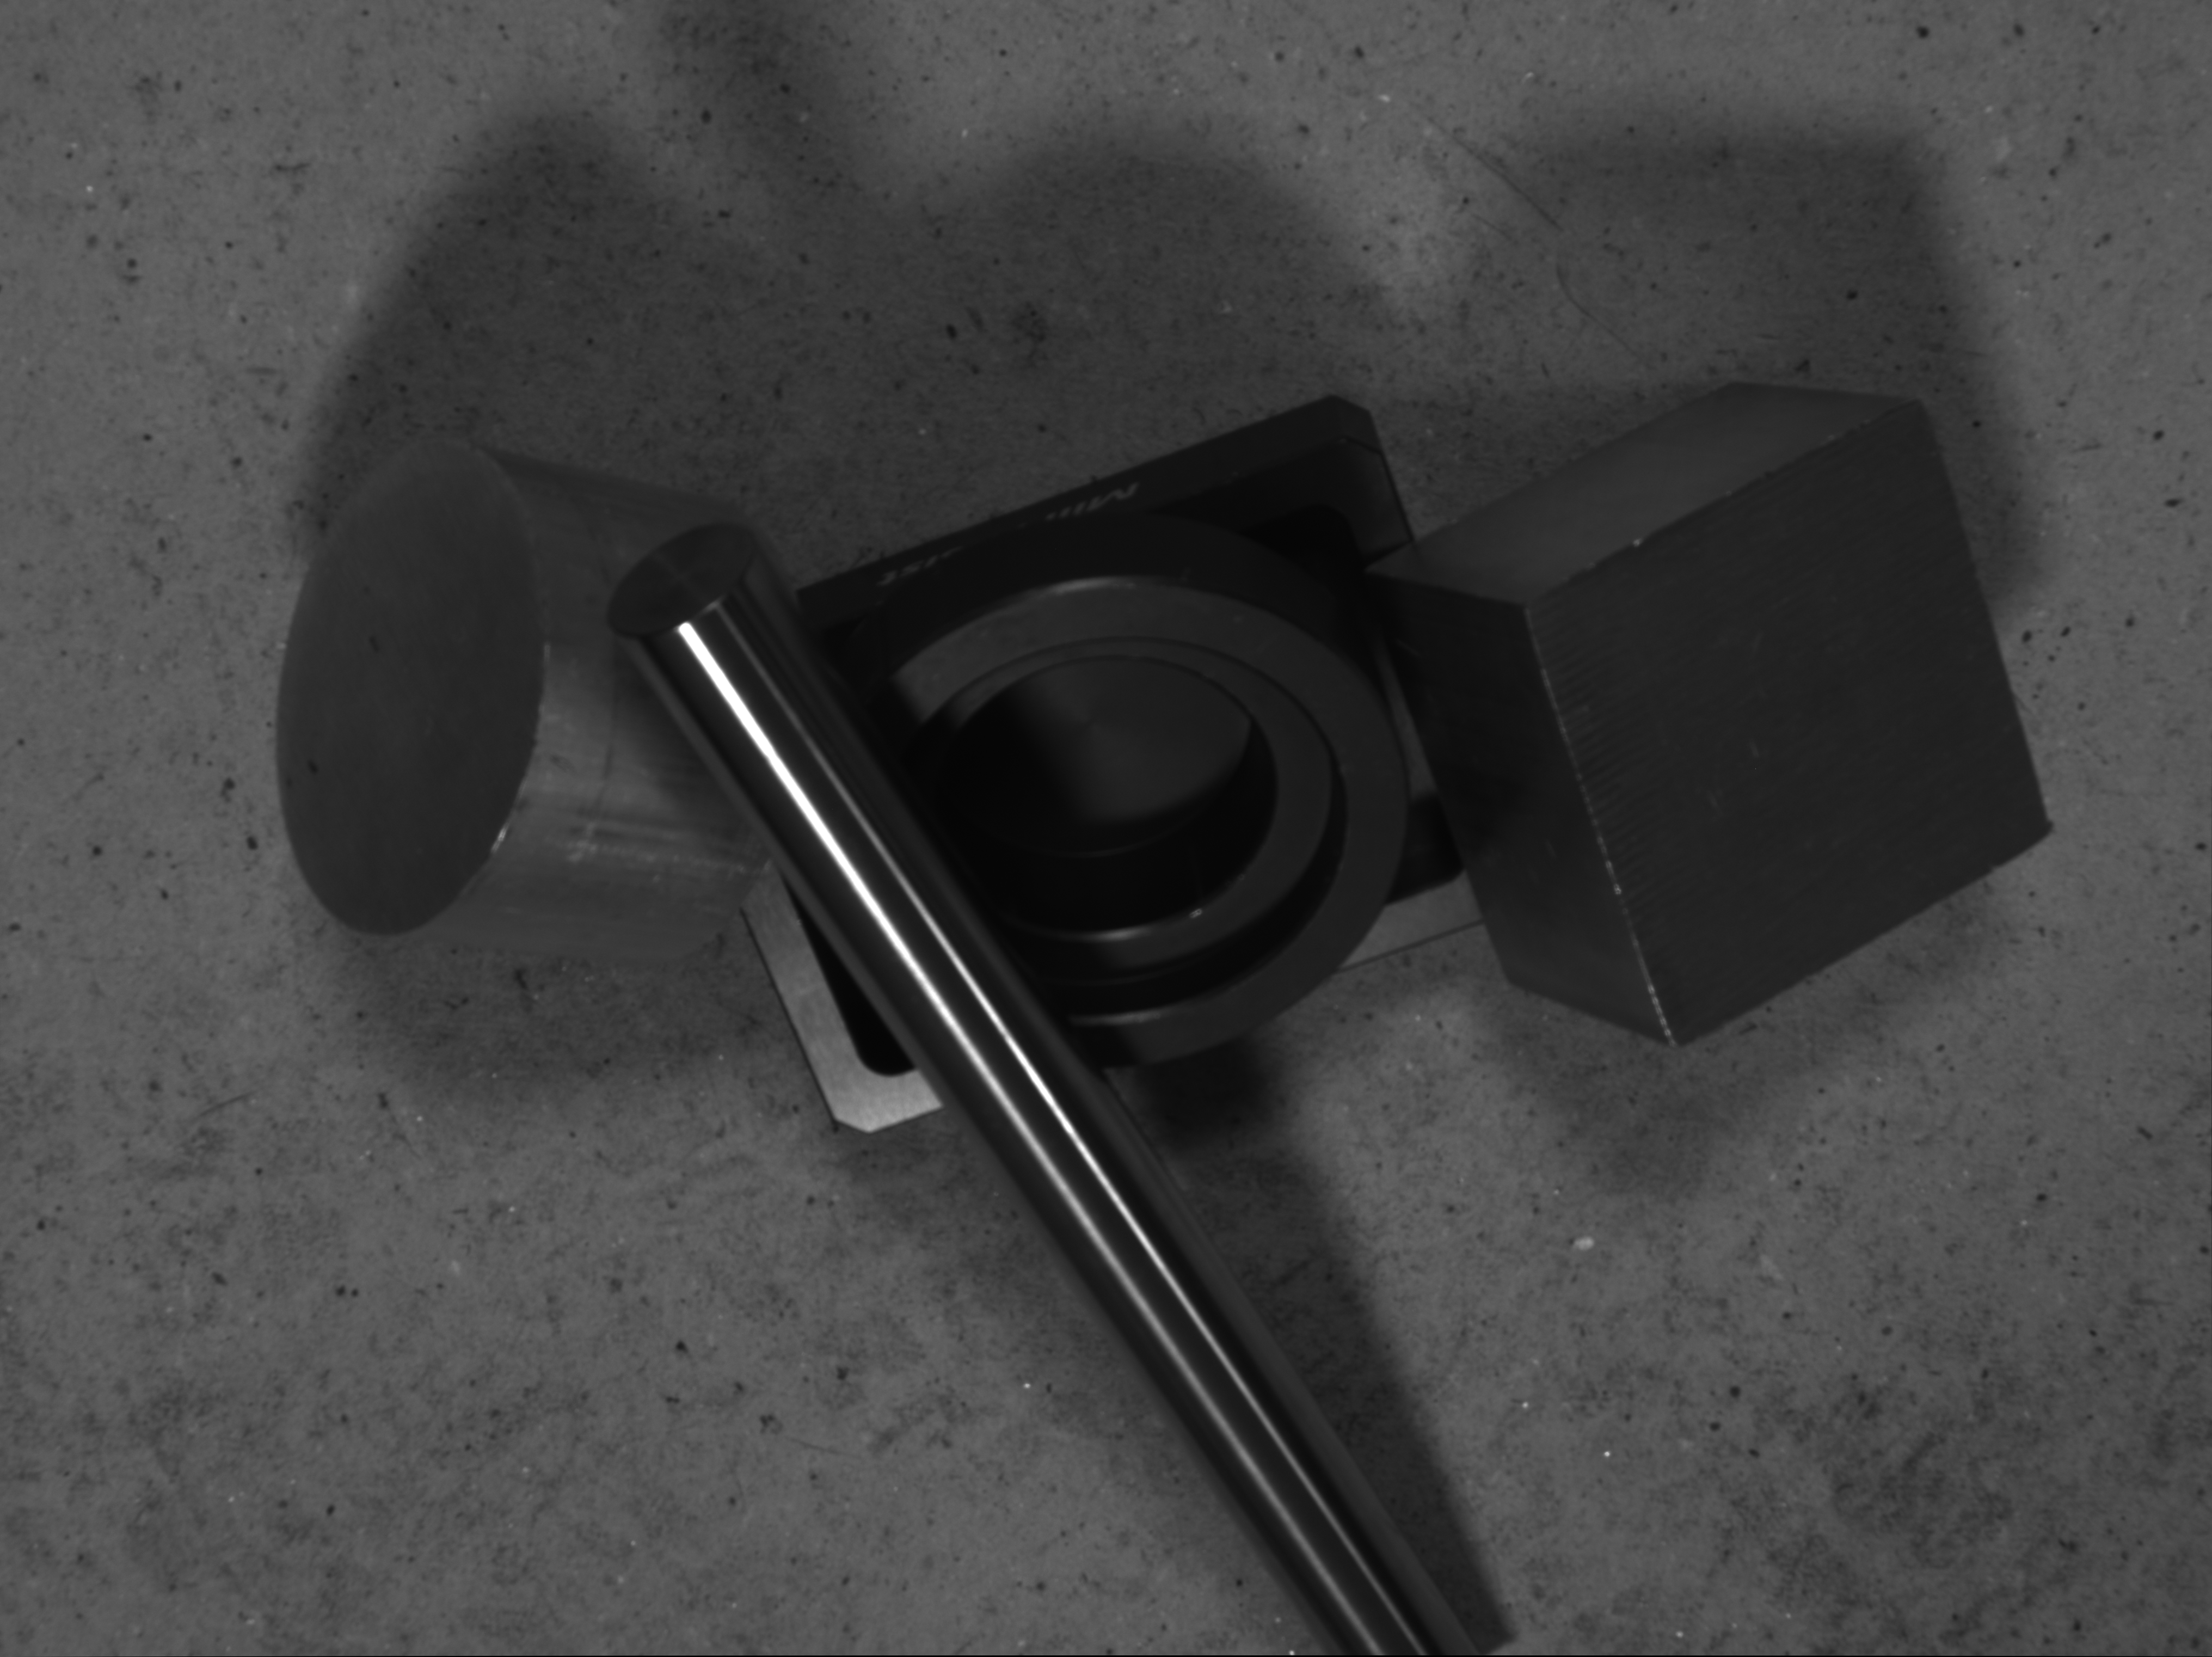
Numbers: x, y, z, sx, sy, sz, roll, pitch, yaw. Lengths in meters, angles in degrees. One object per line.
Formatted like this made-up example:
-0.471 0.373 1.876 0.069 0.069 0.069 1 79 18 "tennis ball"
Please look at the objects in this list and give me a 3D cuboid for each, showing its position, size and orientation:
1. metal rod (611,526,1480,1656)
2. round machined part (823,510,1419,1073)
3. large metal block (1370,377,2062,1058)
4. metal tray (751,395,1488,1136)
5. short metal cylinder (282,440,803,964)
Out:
0.003 0.069 0.622 0.025 0.025 0.301 -26 125 8 "metal rod"
0.000 -0.010 0.605 0.098 0.042 0.098 -3 125 -4 "round machined part"
0.101 -0.020 0.606 0.080 0.050 0.080 -28 110 -18 "large metal block"
0.000 -0.010 0.637 0.130 0.030 0.090 -20 109 6 "metal tray"
-0.092 -0.019 0.599 0.050 0.080 0.080 9 114 -42 "short metal cylinder"
